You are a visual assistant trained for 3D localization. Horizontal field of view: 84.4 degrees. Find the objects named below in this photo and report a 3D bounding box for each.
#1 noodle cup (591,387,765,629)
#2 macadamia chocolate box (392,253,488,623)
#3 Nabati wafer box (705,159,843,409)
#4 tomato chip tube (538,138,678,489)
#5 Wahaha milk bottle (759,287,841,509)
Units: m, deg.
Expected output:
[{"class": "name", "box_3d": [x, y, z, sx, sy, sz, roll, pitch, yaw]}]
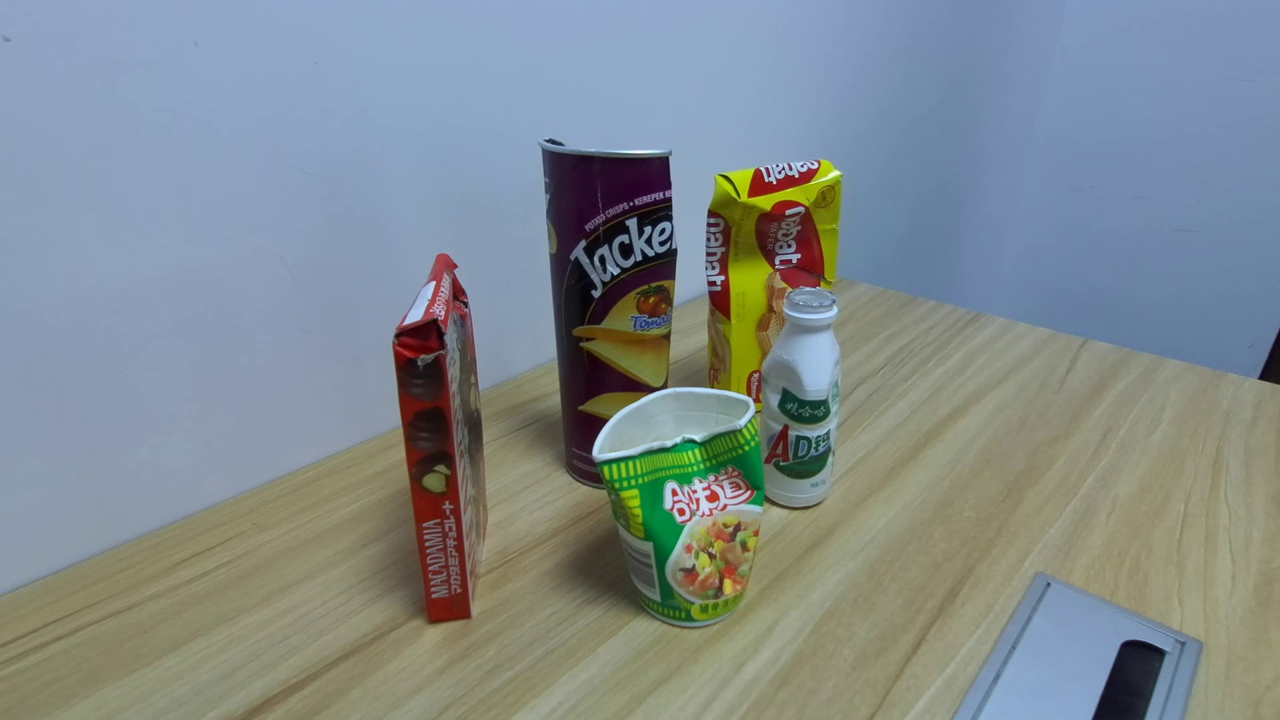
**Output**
[{"class": "noodle cup", "box_3d": [0.029, 0.083, 0.398, 0.082, 0.122, 0.075, -7, 19, 9]}, {"class": "macadamia chocolate box", "box_3d": [-0.107, 0.043, 0.399, 0.027, 0.187, 0.102, 0, 27, -6]}, {"class": "Nabati wafer box", "box_3d": [0.102, -0.053, 0.568, 0.107, 0.204, 0.042, -10, 27, -22]}, {"class": "tomato chip tube", "box_3d": [-0.019, -0.029, 0.491, 0.076, 0.235, 0.077, -7, 25, -13]}, {"class": "Wahaha milk bottle", "box_3d": [0.105, 0.027, 0.467, 0.055, 0.149, 0.055, -1, 28, 1]}]
